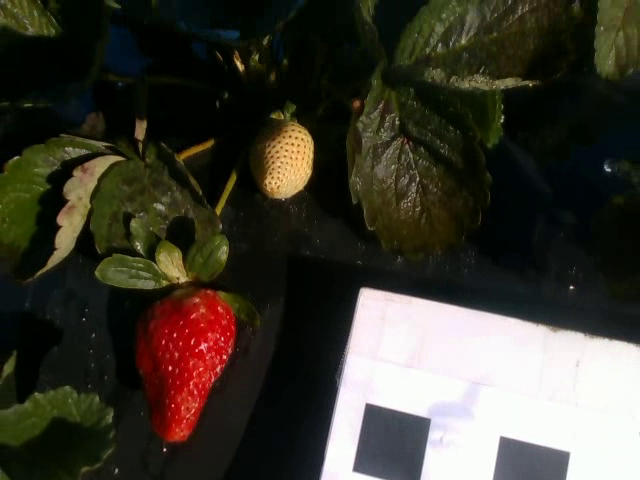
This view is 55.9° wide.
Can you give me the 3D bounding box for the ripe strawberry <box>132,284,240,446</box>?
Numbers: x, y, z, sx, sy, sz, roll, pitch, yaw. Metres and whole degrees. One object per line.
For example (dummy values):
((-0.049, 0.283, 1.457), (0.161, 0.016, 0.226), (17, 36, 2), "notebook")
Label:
((-0.054, 0.048, 0.234), (0.048, 0.068, 0.040), (-7, -20, 7), "ripe strawberry")
